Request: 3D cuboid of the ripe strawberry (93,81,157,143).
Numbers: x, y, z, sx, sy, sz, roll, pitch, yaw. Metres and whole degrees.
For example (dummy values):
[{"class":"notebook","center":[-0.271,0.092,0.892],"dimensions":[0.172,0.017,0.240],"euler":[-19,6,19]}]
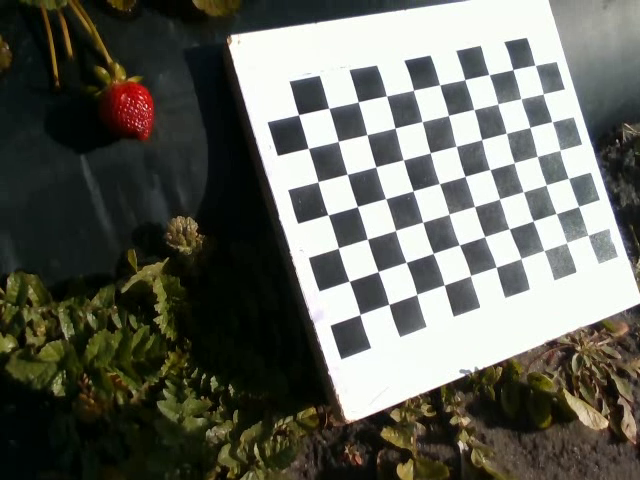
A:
[{"class":"ripe strawberry","center":[-0.114,-0.074,0.301],"dimensions":[0.040,0.044,0.037],"euler":[-36,-10,-18]}]
